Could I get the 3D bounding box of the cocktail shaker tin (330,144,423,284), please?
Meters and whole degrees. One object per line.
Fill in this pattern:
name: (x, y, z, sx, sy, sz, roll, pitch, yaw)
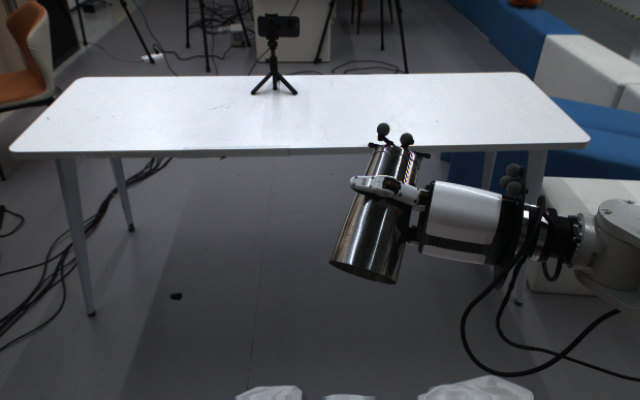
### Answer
cocktail shaker tin: (0.081, 0.017, 0.645, 0.093, 0.093, 0.170, 14, 75, 17)
